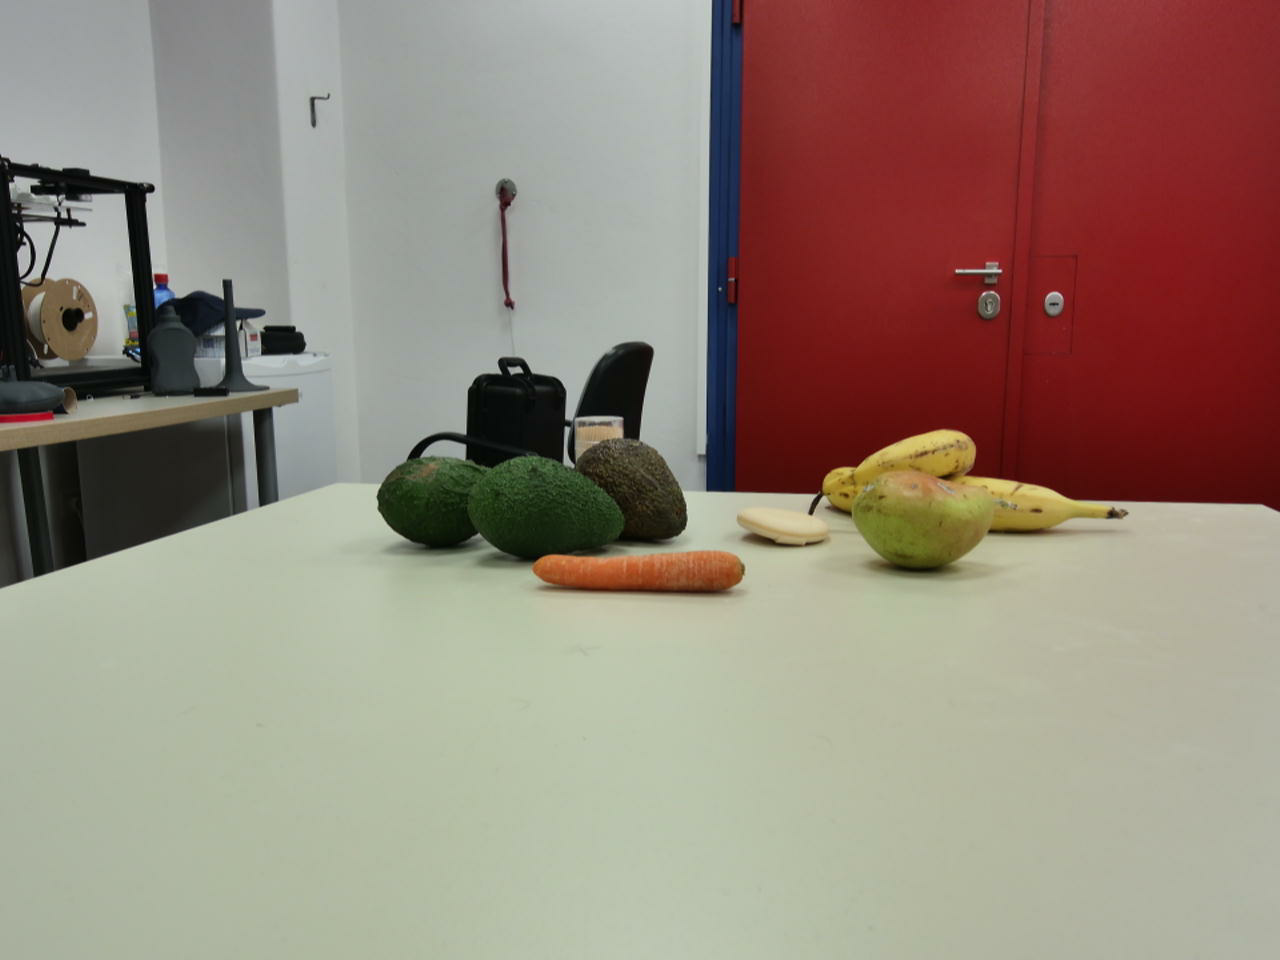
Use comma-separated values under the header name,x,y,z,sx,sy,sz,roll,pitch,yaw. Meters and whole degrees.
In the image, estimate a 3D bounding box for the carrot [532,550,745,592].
name,x,y,z,sx,sy,sz,roll,pitch,yaw
carrot,-0.001,0.051,0.570,0.122,0.023,0.024,1,7,8
